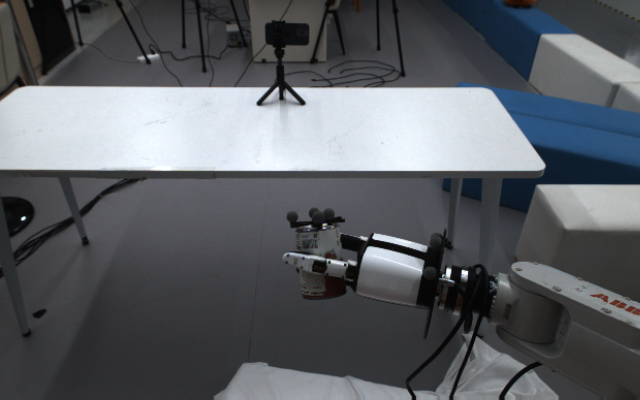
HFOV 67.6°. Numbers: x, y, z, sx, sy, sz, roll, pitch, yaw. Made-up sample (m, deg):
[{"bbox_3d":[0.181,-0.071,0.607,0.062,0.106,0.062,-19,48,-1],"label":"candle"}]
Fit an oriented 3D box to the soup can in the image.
[{"bbox_3d":[0.002,0.088,0.706,0.067,0.101,0.067,-6,3,0],"label":"soup can"}]
